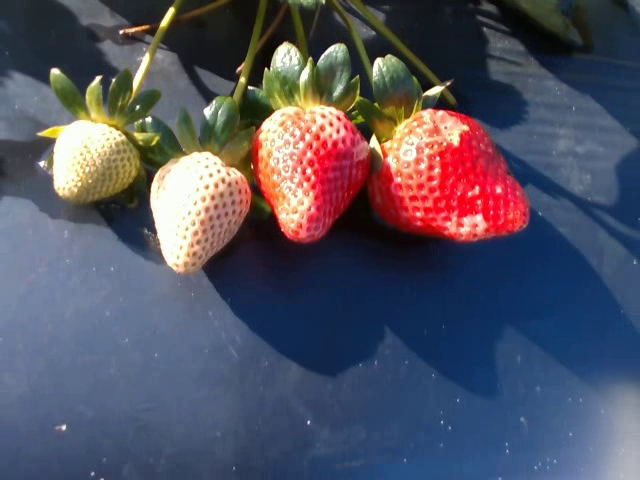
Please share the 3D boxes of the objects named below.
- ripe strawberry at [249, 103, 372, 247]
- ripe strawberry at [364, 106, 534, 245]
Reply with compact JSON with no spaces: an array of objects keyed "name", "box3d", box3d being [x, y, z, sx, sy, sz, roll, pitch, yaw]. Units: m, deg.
[{"name":"ripe strawberry","box3d":[-0.004,-0.021,0.193,0.051,0.061,0.043,29,-43,-24]},{"name":"ripe strawberry","box3d":[0.049,-0.019,0.205,0.067,0.056,0.052,41,-5,32]}]
